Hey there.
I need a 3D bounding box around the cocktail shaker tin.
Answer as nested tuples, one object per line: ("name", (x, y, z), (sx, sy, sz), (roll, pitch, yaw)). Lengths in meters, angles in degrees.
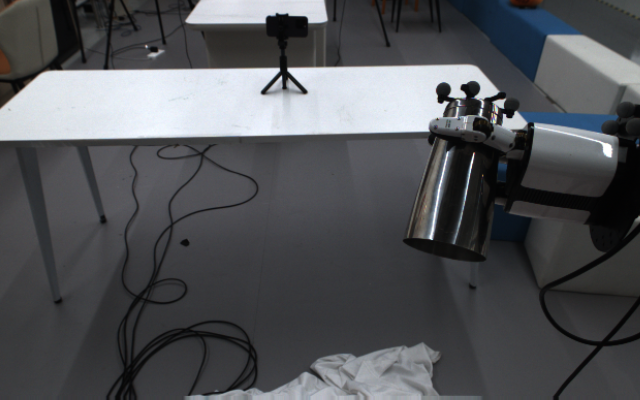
("cocktail shaker tin", (0.161, -0.028, 0.548), (0.093, 0.093, 0.170), (13, 77, 15))
